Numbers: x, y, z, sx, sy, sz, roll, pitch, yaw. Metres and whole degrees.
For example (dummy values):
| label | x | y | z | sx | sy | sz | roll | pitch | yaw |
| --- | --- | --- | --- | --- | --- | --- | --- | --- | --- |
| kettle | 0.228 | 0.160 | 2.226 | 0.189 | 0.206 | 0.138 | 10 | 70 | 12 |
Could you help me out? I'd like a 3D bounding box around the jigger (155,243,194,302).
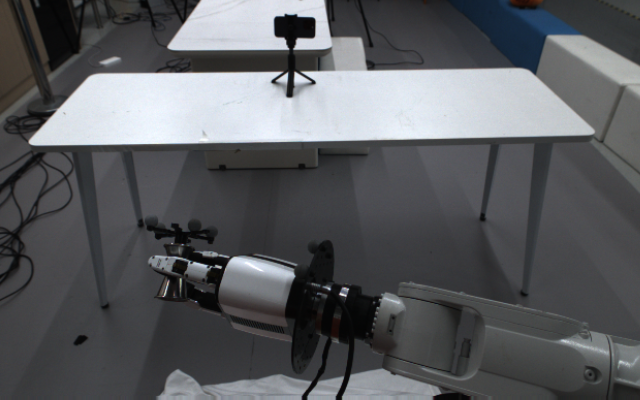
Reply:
| label | x | y | z | sx | sy | sz | roll | pitch | yaw |
| --- | --- | --- | --- | --- | --- | --- | --- | --- | --- |
| jigger | -0.184 | 0.092 | 0.615 | 0.043 | 0.043 | 0.071 | 3 | 73 | 1 |
